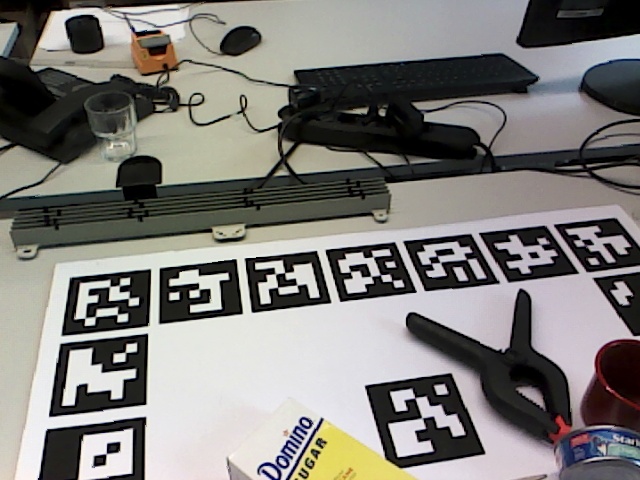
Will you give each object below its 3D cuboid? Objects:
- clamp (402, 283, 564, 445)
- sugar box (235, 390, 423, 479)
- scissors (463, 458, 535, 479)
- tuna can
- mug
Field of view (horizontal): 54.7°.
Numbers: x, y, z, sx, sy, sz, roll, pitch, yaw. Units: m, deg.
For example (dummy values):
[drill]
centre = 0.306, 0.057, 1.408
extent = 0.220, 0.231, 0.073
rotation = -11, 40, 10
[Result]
[clamp]
centre = 0.210, 0.142, 0.714
extent = 0.165, 0.036, 0.204
rotation = -13, 45, -16
[sugar box]
centre = 0.011, 0.224, 0.584
extent = 0.177, 0.045, 0.092
rotation = 28, 47, 34
[scissors]
centre = 0.120, 0.240, 0.593
extent = 0.202, 0.016, 0.088
rotation = -12, 40, -17
[tuna can]
centre = 0.267, 0.208, 0.589
extent = 0.086, 0.085, 0.034
rotation = 6, 42, 5
[mug]
centre = 0.316, 0.171, 0.640
extent = 0.093, 0.081, 0.118
rotation = -26, 45, -28
